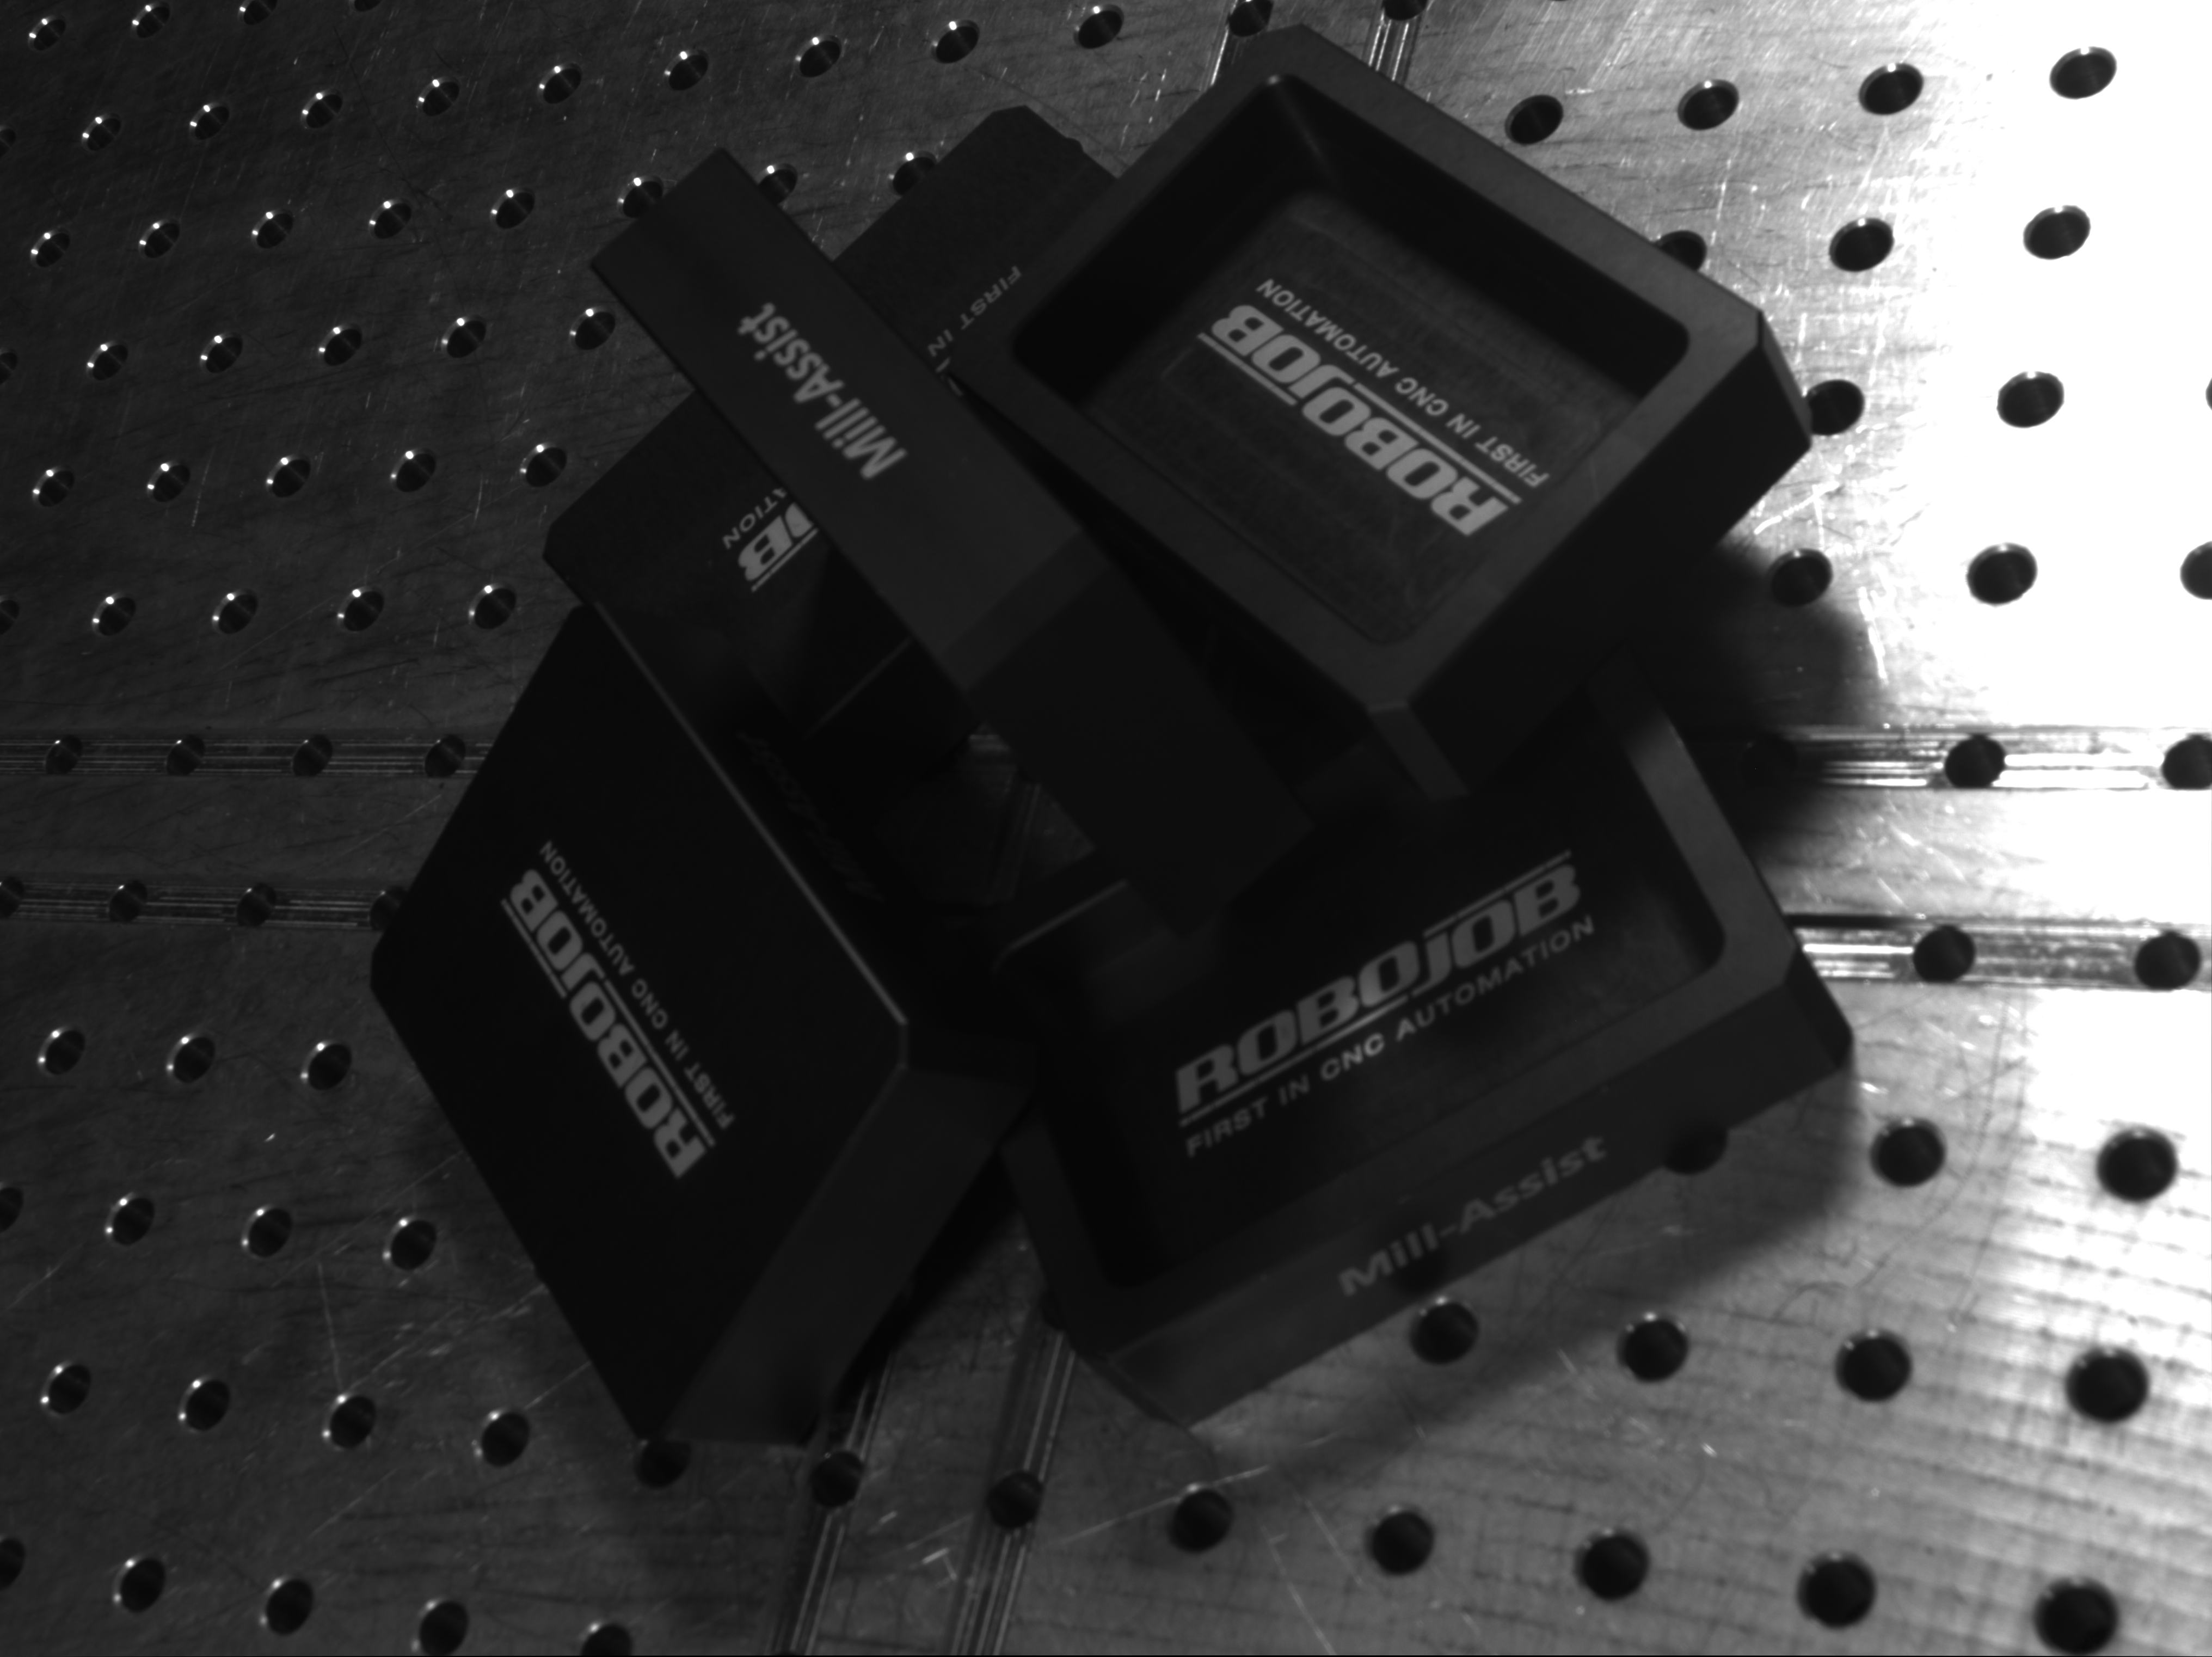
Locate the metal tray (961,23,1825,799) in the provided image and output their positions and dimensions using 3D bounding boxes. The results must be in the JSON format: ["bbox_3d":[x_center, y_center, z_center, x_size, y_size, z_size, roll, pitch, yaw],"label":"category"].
[{"bbox_3d":[0.046,-0.075,0.626,0.090,0.030,0.130,-45,51,-3],"label":"metal tray"}]

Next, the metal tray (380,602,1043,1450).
[{"bbox_3d":[-0.073,0.033,0.639,0.090,0.030,0.130,-57,48,20],"label":"metal tray"}]

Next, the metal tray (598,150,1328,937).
[{"bbox_3d":[-0.025,-0.048,0.608,0.030,0.090,0.130,-42,51,0],"label":"metal tray"}]

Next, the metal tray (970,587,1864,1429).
[{"bbox_3d":[0.046,0.028,0.600,0.130,0.030,0.090,-30,52,9],"label":"metal tray"}]

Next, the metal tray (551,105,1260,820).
[{"bbox_3d":[-0.034,-0.069,0.704,0.130,0.030,0.090,-43,51,-2],"label":"metal tray"}]
